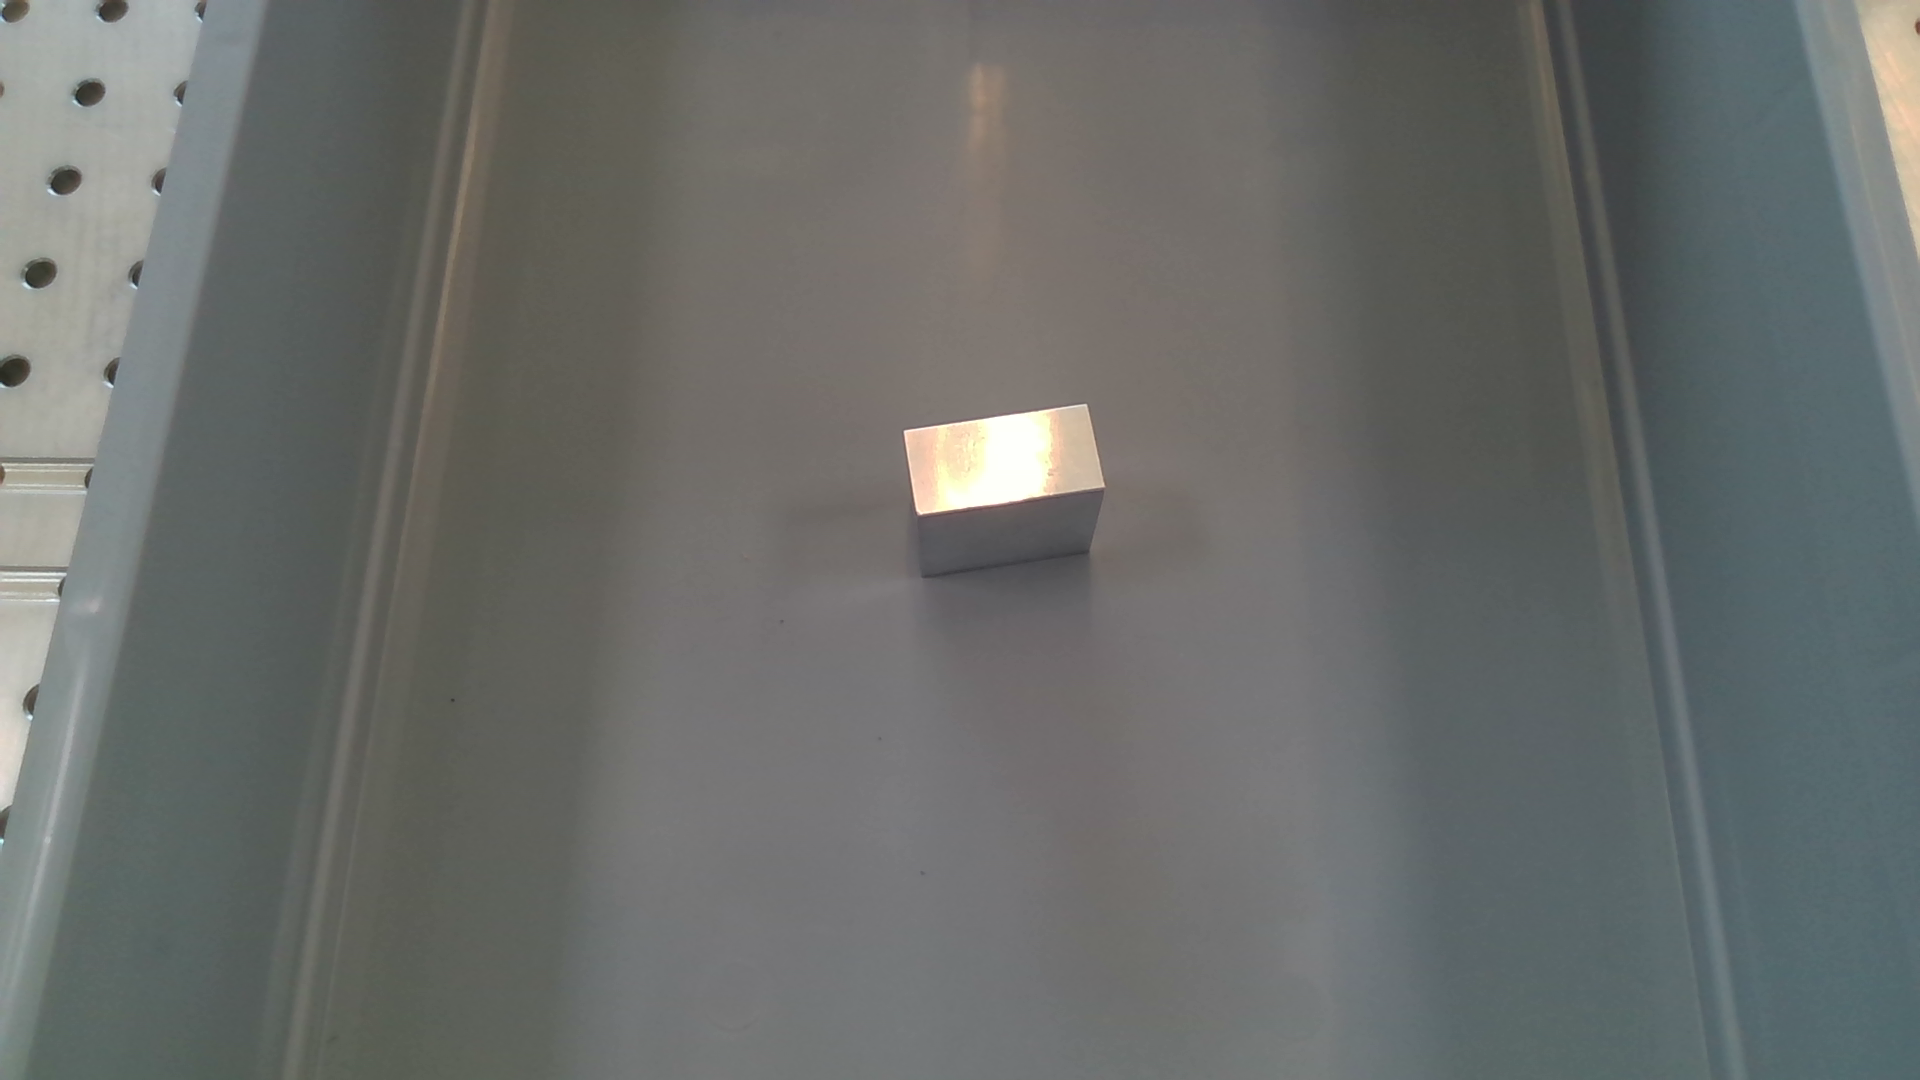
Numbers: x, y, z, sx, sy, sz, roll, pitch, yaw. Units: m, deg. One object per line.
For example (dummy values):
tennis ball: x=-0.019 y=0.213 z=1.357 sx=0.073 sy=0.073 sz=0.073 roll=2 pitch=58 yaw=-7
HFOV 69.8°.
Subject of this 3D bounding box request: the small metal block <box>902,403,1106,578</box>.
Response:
small metal block: x=0.011 y=-0.013 z=0.383 sx=0.050 sy=0.050 sz=0.025 roll=-8 pitch=70 yaw=-4
